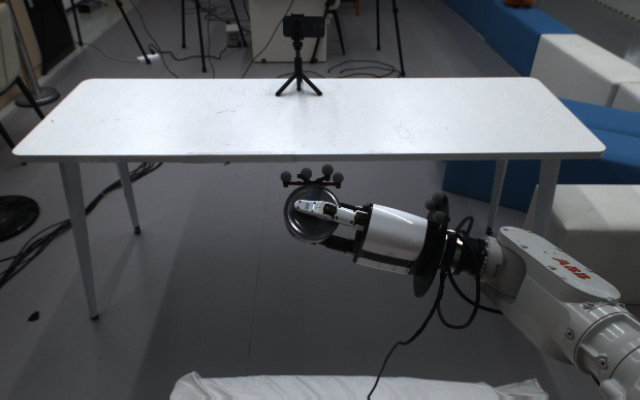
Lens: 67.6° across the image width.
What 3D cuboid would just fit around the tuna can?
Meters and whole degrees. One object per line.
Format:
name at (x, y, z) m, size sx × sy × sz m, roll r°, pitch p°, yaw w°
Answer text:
tuna can at (-0.010, 0.024, 0.718) m, size 0.085 × 0.034 × 0.085 m, roll 1°, pitch 70°, yaw -4°
